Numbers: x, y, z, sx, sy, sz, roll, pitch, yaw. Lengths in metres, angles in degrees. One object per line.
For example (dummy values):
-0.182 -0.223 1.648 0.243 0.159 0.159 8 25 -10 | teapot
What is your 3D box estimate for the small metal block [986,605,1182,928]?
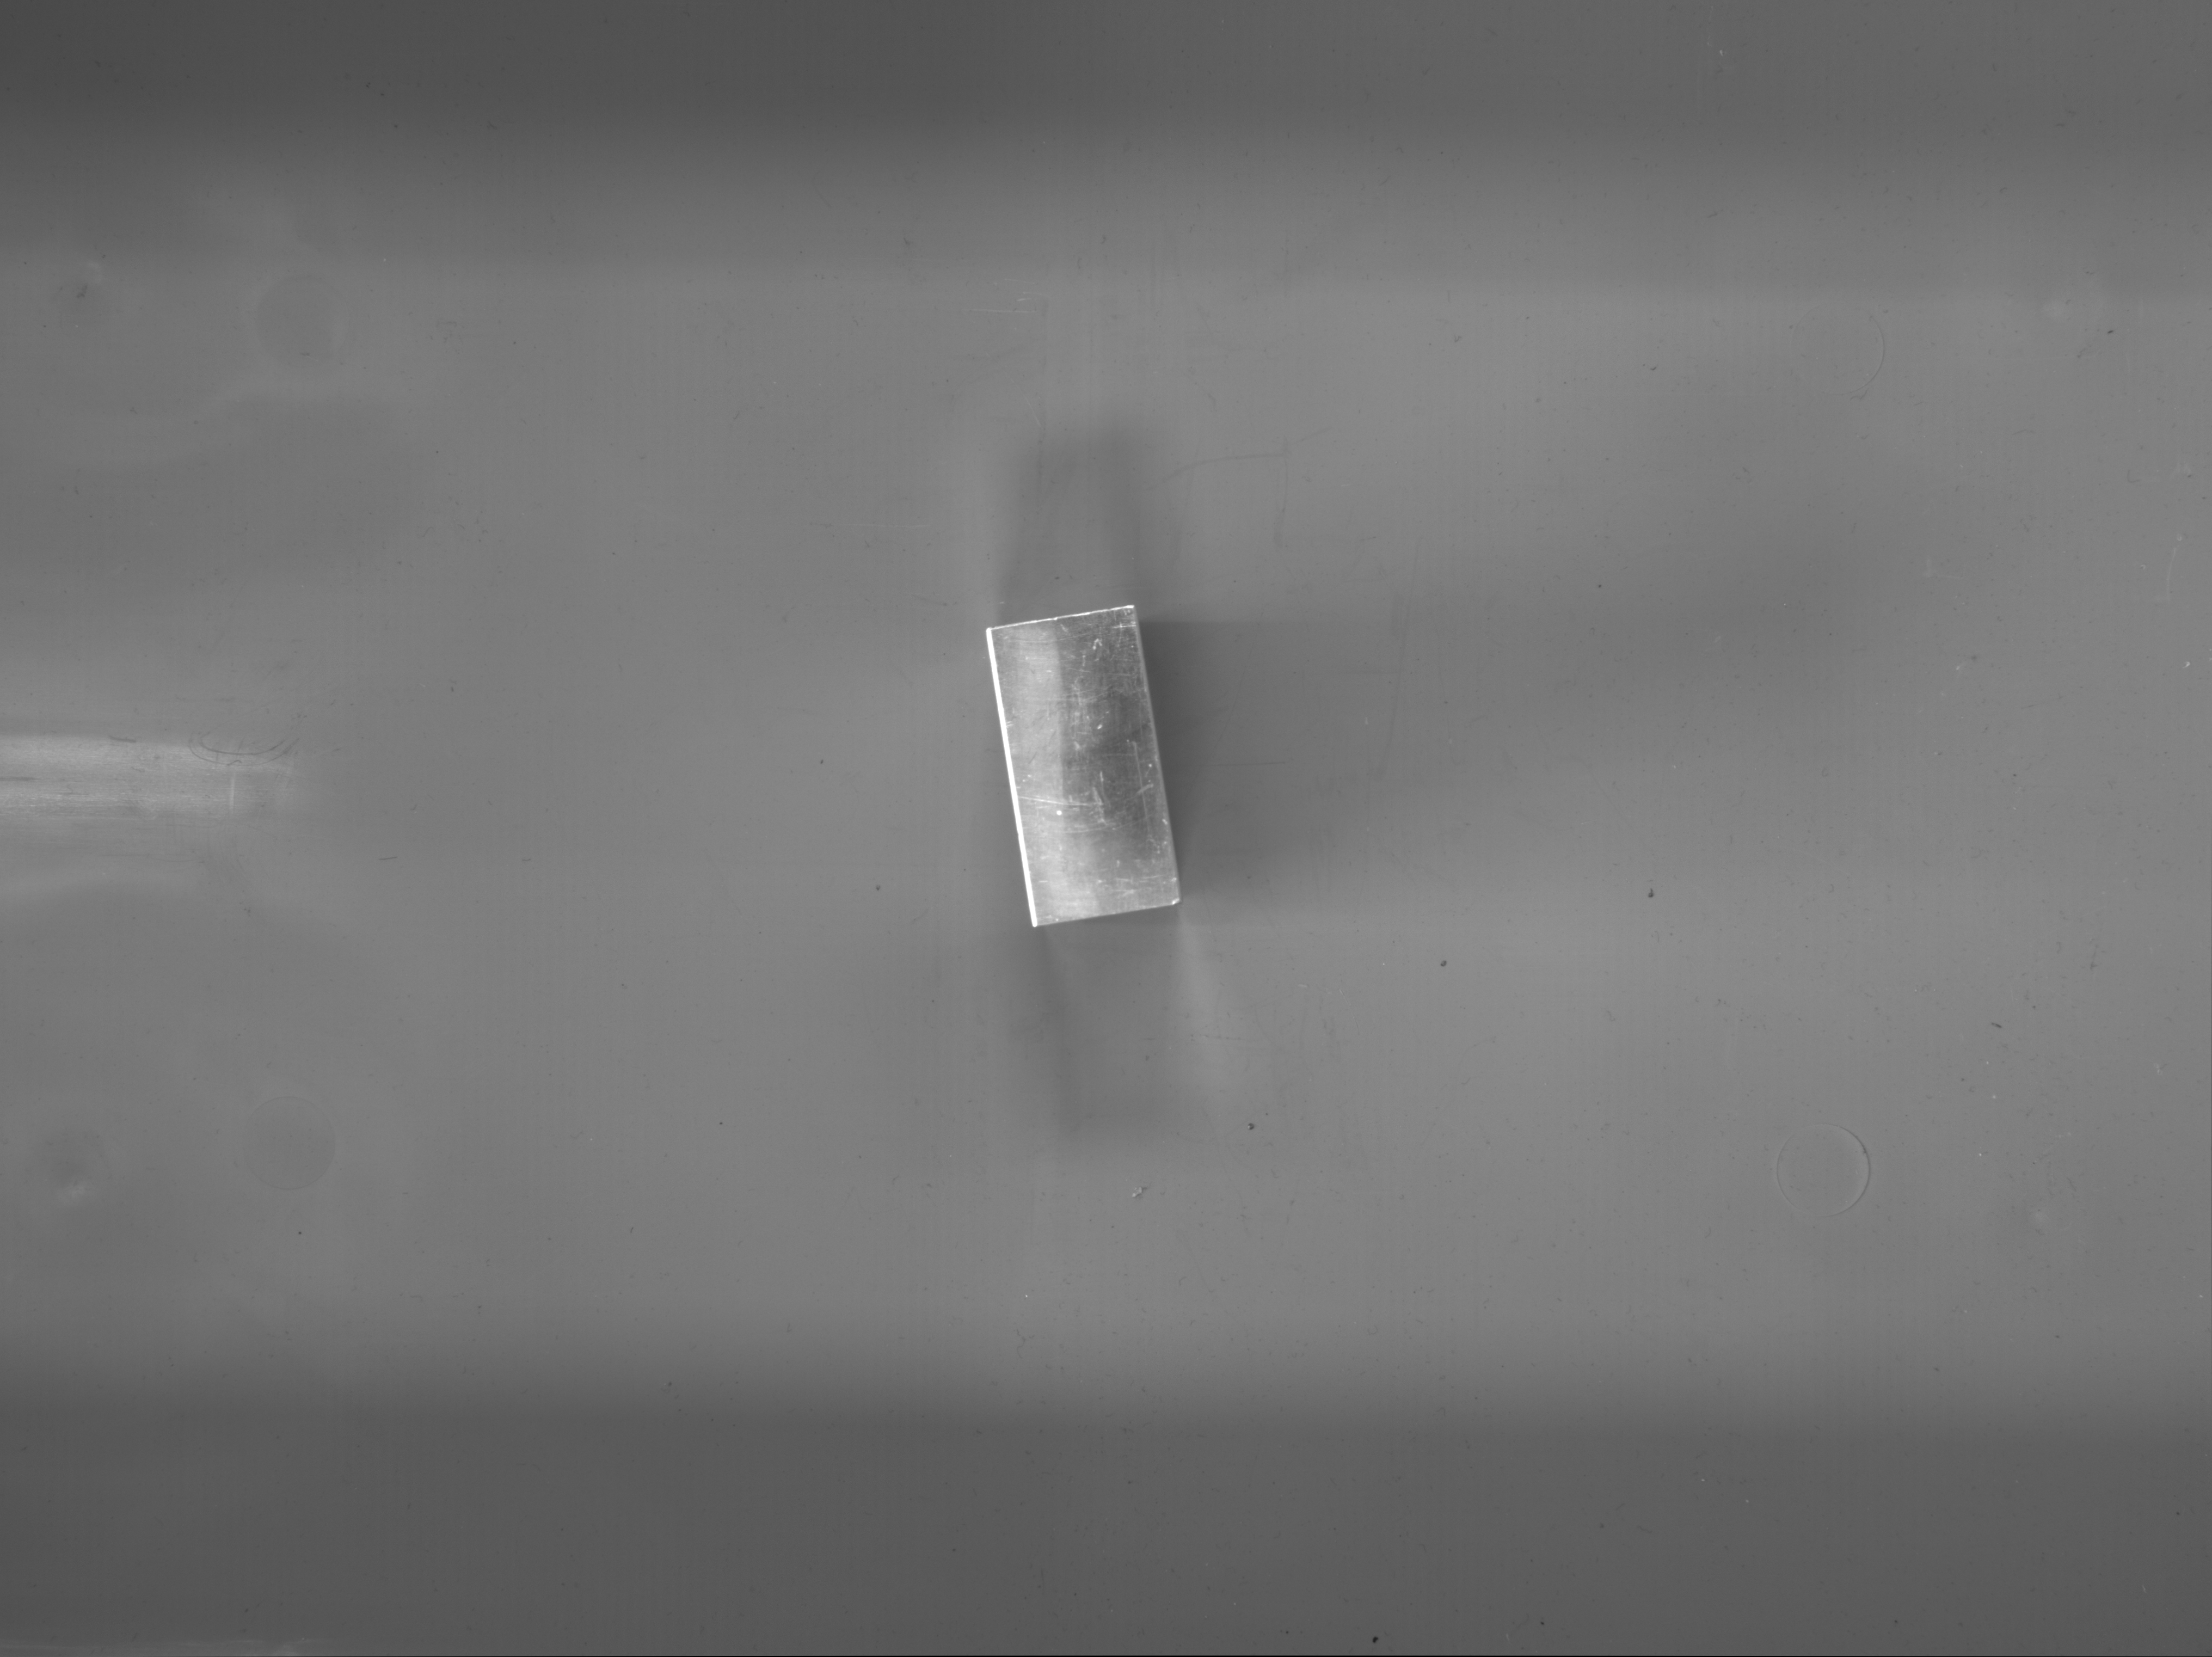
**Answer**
-0.003 -0.010 0.630 0.025 0.050 0.050 -9 89 0 | small metal block
